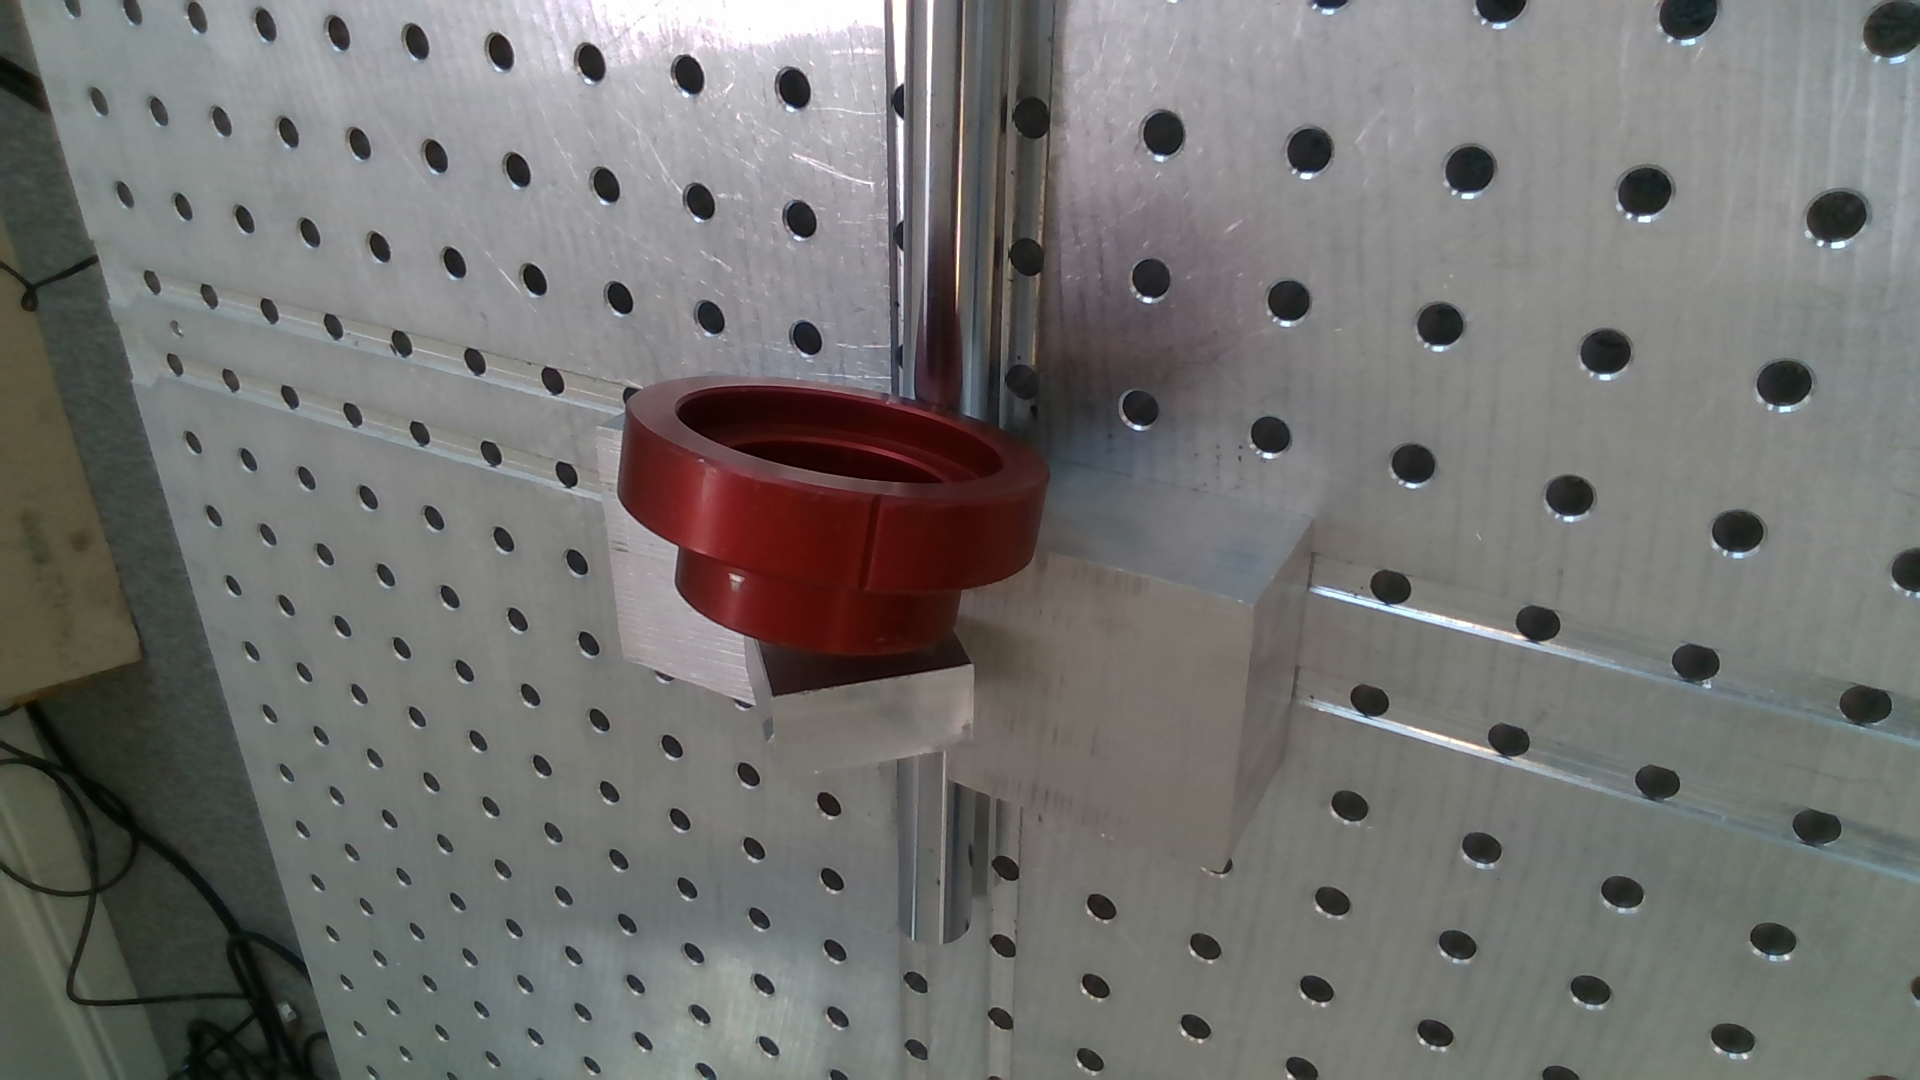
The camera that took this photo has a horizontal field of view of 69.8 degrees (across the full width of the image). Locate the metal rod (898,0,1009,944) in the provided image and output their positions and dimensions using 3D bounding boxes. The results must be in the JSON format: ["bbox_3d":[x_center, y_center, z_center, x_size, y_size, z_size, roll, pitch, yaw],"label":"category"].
[{"bbox_3d":[-0.005,-0.003,0.393,0.025,0.025,0.301,16,123,24],"label":"metal rod"}]

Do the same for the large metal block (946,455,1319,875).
[{"bbox_3d":[0.044,0.030,0.365,0.080,0.050,0.080,15,122,24],"label":"large metal block"}]

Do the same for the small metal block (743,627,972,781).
[{"bbox_3d":[-0.028,0.033,0.354,0.050,0.050,0.025,-7,120,-14],"label":"small metal block"}]

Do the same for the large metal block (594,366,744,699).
[{"bbox_3d":[-0.057,0.001,0.412,0.080,0.050,0.080,15,122,24],"label":"large metal block"}]

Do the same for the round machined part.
[{"bbox_3d":[-0.031,-0.006,0.324,0.098,0.098,0.042,18,109,23],"label":"round machined part"}]
